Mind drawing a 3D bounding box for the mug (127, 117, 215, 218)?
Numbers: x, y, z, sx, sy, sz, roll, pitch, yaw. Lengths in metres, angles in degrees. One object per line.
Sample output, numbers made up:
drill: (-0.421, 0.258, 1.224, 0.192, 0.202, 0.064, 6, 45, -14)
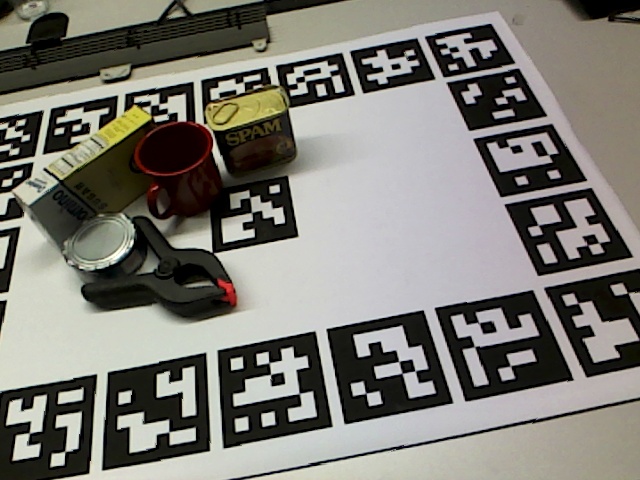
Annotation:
mug: (-0.178, -0.078, 0.743, 0.093, 0.081, 0.117, 10, 57, 14)

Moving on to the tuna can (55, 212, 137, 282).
tuna can: (-0.259, 0.011, 0.719, 0.086, 0.033, 0.086, -4, 54, 5)

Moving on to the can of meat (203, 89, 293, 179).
can of meat: (-0.087, -0.132, 0.781, 0.102, 0.083, 0.058, -17, 51, -7)

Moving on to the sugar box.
sugar box: (-0.271, -0.071, 0.755, 0.045, 0.092, 0.176, 33, 62, 30)

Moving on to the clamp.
clamp: (-0.174, 0.043, 0.690, 0.166, 0.036, 0.122, 21, 54, 17)
